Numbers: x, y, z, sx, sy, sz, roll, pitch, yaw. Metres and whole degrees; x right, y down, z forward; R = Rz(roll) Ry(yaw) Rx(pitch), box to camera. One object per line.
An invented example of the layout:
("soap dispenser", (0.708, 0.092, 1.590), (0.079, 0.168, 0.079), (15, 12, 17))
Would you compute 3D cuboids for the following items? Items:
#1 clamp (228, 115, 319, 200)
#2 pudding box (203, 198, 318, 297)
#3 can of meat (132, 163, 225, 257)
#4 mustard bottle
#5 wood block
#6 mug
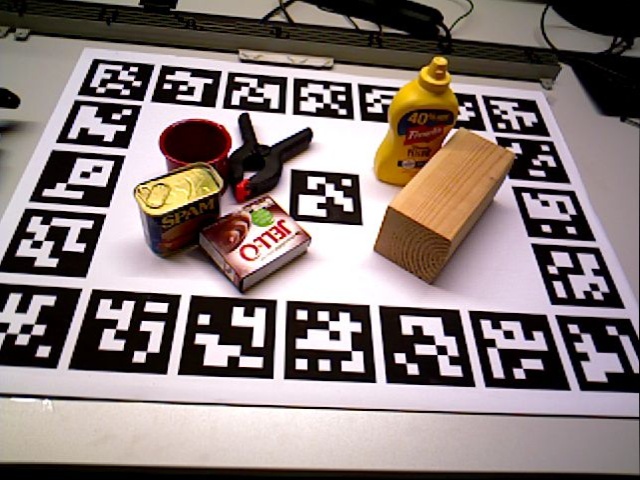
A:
("clamp", (-0.081, -0.123, 0.773), (0.121, 0.037, 0.162), (20, 54, 5))
("pudding box", (-0.073, 0.006, 0.668), (0.111, 0.039, 0.090), (-31, 63, -30))
("can of meat", (-0.166, -0.035, 0.650), (0.100, 0.086, 0.057), (-22, 60, -24))
("mustard bottle", (0.141, -0.162, 0.728), (0.095, 0.196, 0.057), (0, 53, -9))
("wood block", (0.176, -0.043, 0.713), (0.090, 0.093, 0.201), (32, 53, 19))
("mug", (-0.161, -0.100, 0.738), (0.093, 0.083, 0.114), (21, 54, 8))
